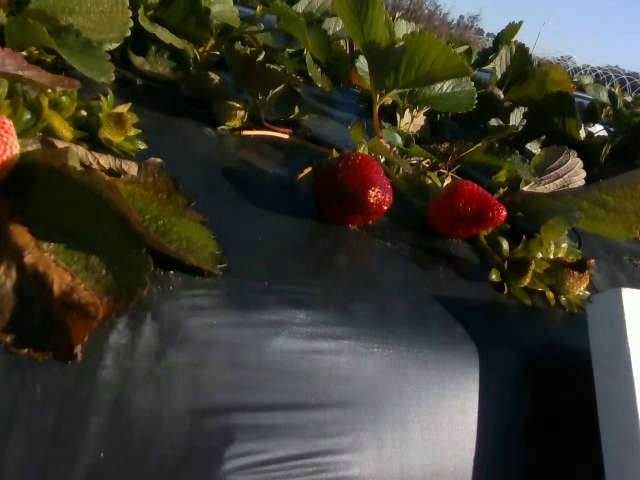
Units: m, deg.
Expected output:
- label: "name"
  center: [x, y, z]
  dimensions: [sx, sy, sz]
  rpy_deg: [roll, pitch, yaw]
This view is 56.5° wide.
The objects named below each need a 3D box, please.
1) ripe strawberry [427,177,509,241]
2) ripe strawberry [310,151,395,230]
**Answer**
- label: "ripe strawberry"
  center: [0.084, -0.016, 0.331]
  dimensions: [0.042, 0.039, 0.049]
  rpy_deg: [-37, 28, -26]
- label: "ripe strawberry"
  center: [0.018, -0.026, 0.301]
  dimensions: [0.050, 0.045, 0.050]
  rpy_deg: [28, -2, -15]
